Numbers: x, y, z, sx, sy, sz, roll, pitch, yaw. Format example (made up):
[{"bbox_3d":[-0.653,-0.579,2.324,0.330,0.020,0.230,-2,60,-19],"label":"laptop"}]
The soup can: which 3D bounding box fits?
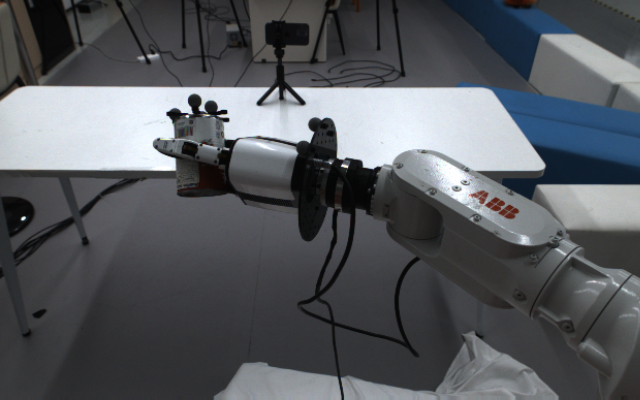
[{"bbox_3d":[-0.159,-0.056,0.652,0.067,0.101,0.067,-5,-5,0],"label":"soup can"}]
